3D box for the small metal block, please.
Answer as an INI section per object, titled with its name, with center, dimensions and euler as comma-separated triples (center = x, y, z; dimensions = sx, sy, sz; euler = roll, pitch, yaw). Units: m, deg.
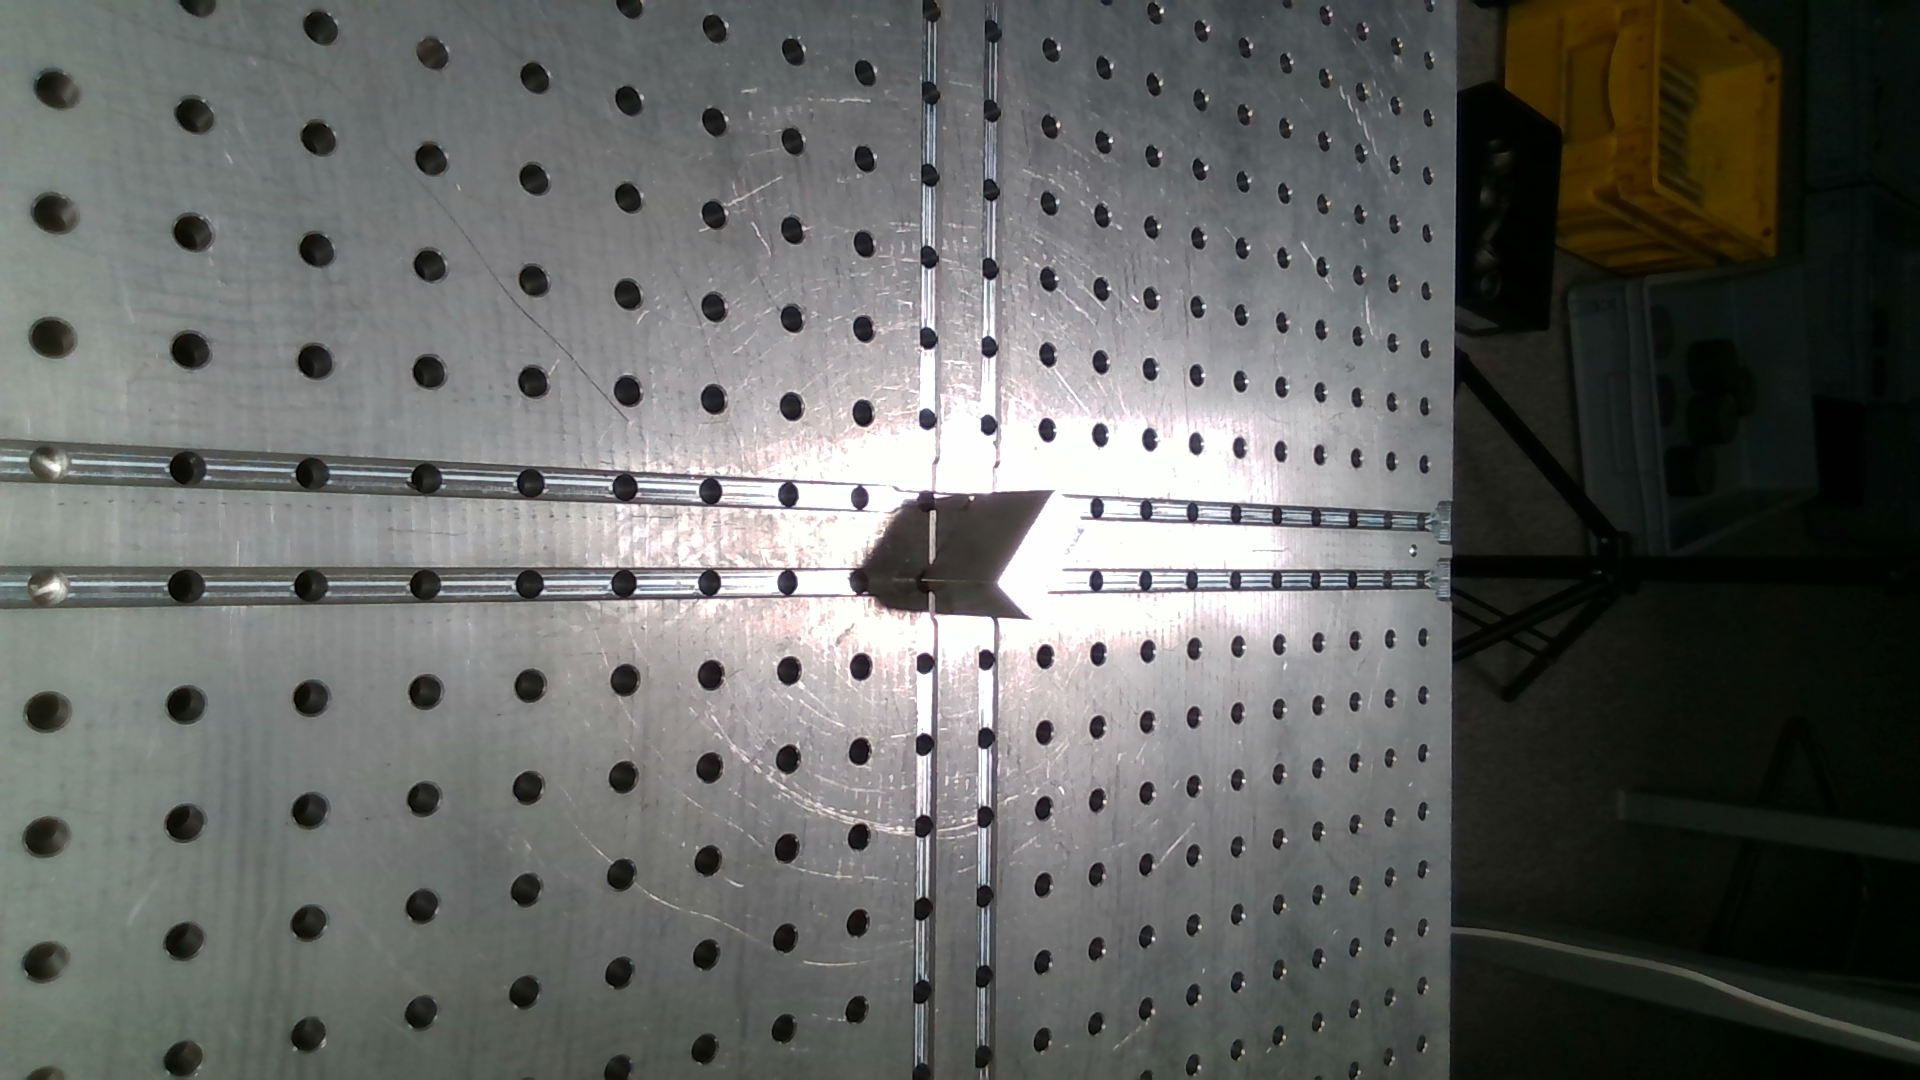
[small metal block]
center = 0.018, 0.006, 0.585
dimensions = 0.025, 0.050, 0.050
euler = 48, 62, -30
